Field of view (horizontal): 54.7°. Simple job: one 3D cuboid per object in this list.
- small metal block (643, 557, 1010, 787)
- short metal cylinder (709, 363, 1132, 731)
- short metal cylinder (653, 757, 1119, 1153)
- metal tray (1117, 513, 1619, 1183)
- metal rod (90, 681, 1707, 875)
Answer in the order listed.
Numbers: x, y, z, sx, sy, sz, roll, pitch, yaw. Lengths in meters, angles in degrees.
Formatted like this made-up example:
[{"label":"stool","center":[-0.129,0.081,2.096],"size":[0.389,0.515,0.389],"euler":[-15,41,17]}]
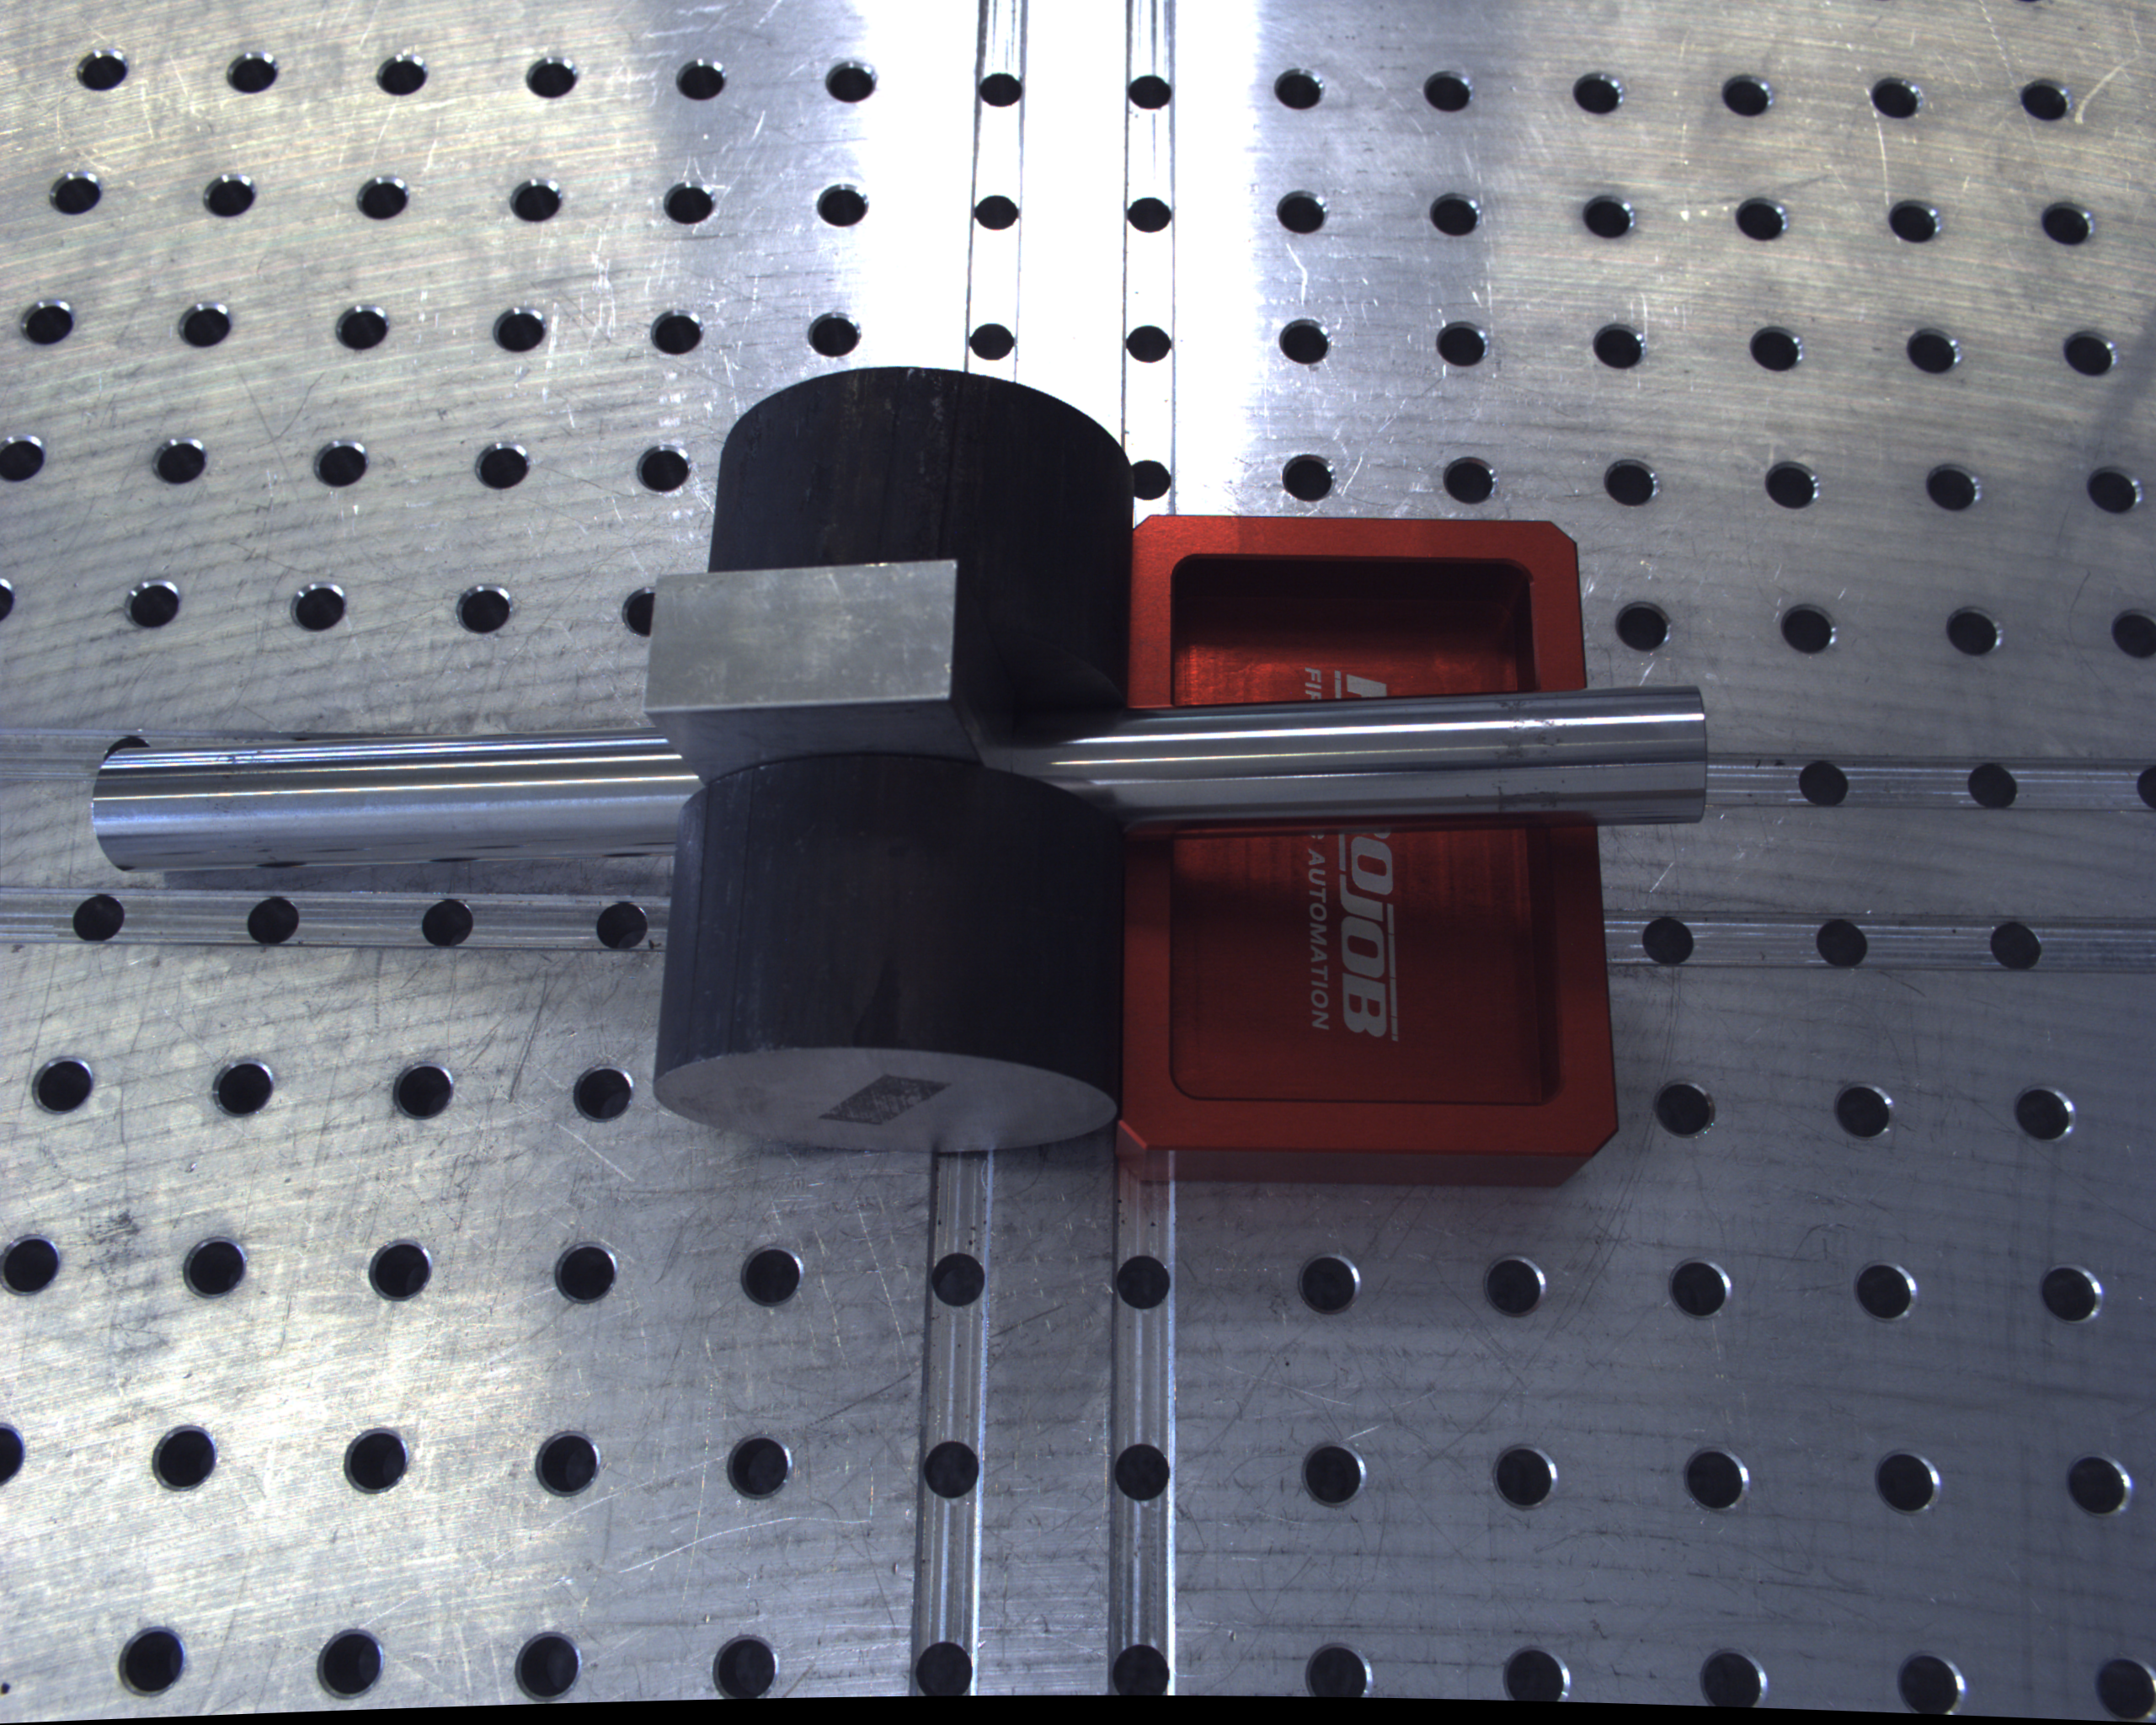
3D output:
[{"label":"small metal block","center":[-0.041,-0.028,0.358],"size":[0.050,0.050,0.025],"euler":[-2,70,8]},{"label":"short metal cylinder","center":[-0.030,-0.052,0.399],"size":[0.081,0.080,0.050],"euler":[1,70,0]},{"label":"short metal cylinder","center":[-0.033,0.019,0.375],"size":[0.081,0.080,0.050],"euler":[1,70,0]},{"label":"metal tray","center":[0.054,-0.004,0.411],"size":[0.091,0.030,0.130],"euler":[1,70,0]},{"label":"metal rod","center":[-0.039,-0.015,0.392],"size":[0.301,0.025,0.025],"euler":[-2,70,8]}]
